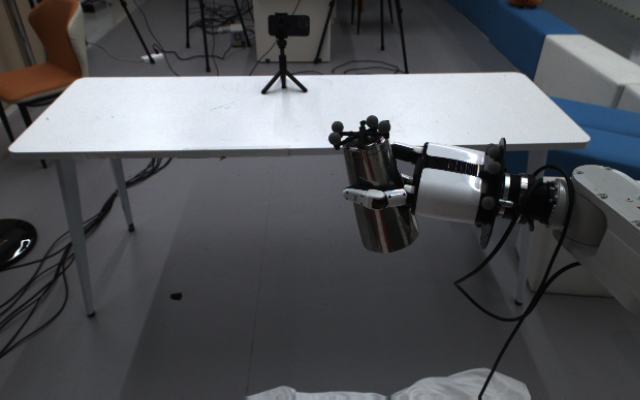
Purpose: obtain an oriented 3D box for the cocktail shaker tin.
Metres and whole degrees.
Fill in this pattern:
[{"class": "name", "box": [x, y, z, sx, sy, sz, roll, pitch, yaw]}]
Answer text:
[{"class": "cocktail shaker tin", "box": [0.087, -0.017, 0.723, 0.093, 0.170, 0.093, -15, 29, 8]}]
